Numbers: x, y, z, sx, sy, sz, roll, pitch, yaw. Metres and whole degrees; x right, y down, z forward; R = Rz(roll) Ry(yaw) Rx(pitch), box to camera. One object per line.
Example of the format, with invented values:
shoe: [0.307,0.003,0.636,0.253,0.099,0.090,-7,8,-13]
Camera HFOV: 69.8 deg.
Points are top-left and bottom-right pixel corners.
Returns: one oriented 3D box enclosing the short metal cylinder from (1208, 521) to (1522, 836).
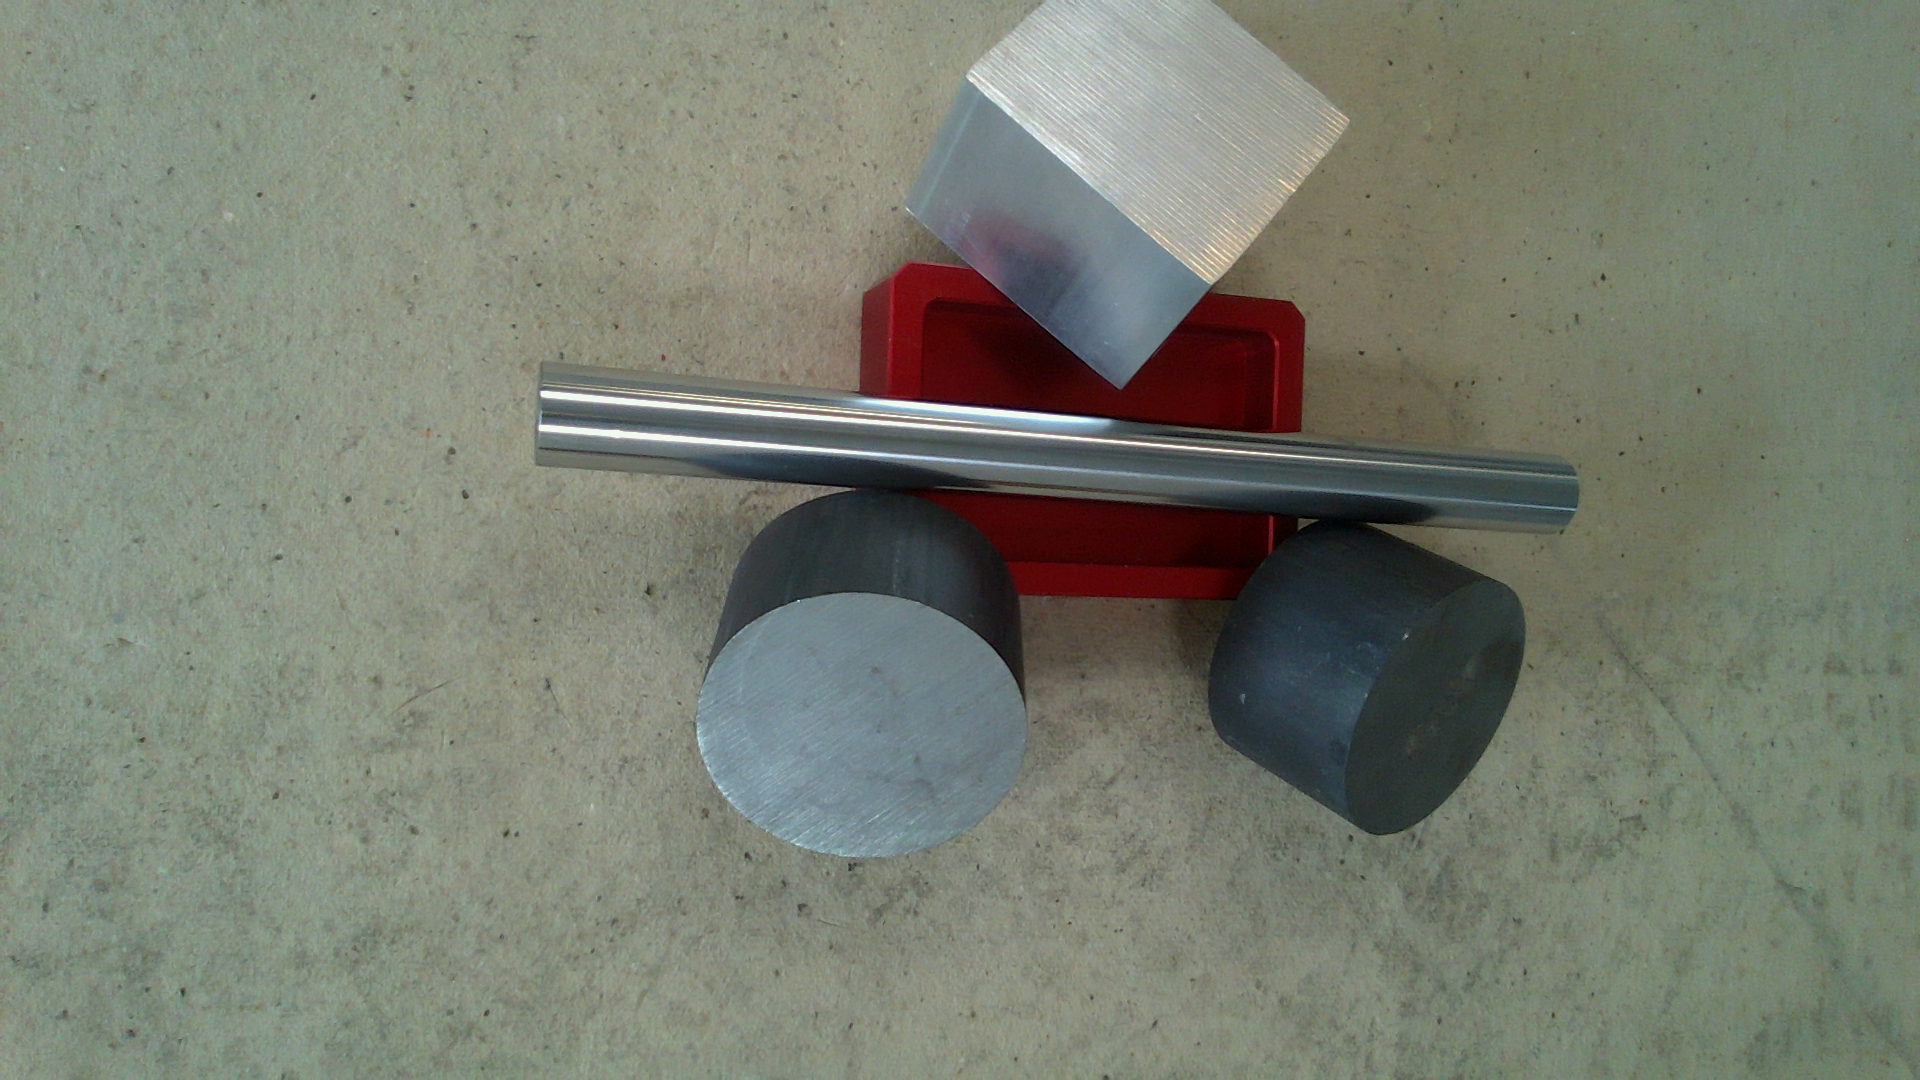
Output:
short metal cylinder: [0.120,0.039,0.407,0.080,0.050,0.080,-19,123,-33]

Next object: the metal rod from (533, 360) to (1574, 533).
metal rod: [0.041,-0.022,0.377,0.301,0.025,0.025,3,89,-20]

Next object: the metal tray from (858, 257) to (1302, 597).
metal tray: [0.036,-0.029,0.404,0.130,0.030,0.090,2,89,-20]

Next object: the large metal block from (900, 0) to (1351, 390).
large metal block: [0.045,-0.103,0.374,0.080,0.050,0.080,40,60,1]

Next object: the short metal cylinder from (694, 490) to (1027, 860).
short metal cylinder: [-0.024,0.034,0.352,0.080,0.050,0.080,0,120,0]
